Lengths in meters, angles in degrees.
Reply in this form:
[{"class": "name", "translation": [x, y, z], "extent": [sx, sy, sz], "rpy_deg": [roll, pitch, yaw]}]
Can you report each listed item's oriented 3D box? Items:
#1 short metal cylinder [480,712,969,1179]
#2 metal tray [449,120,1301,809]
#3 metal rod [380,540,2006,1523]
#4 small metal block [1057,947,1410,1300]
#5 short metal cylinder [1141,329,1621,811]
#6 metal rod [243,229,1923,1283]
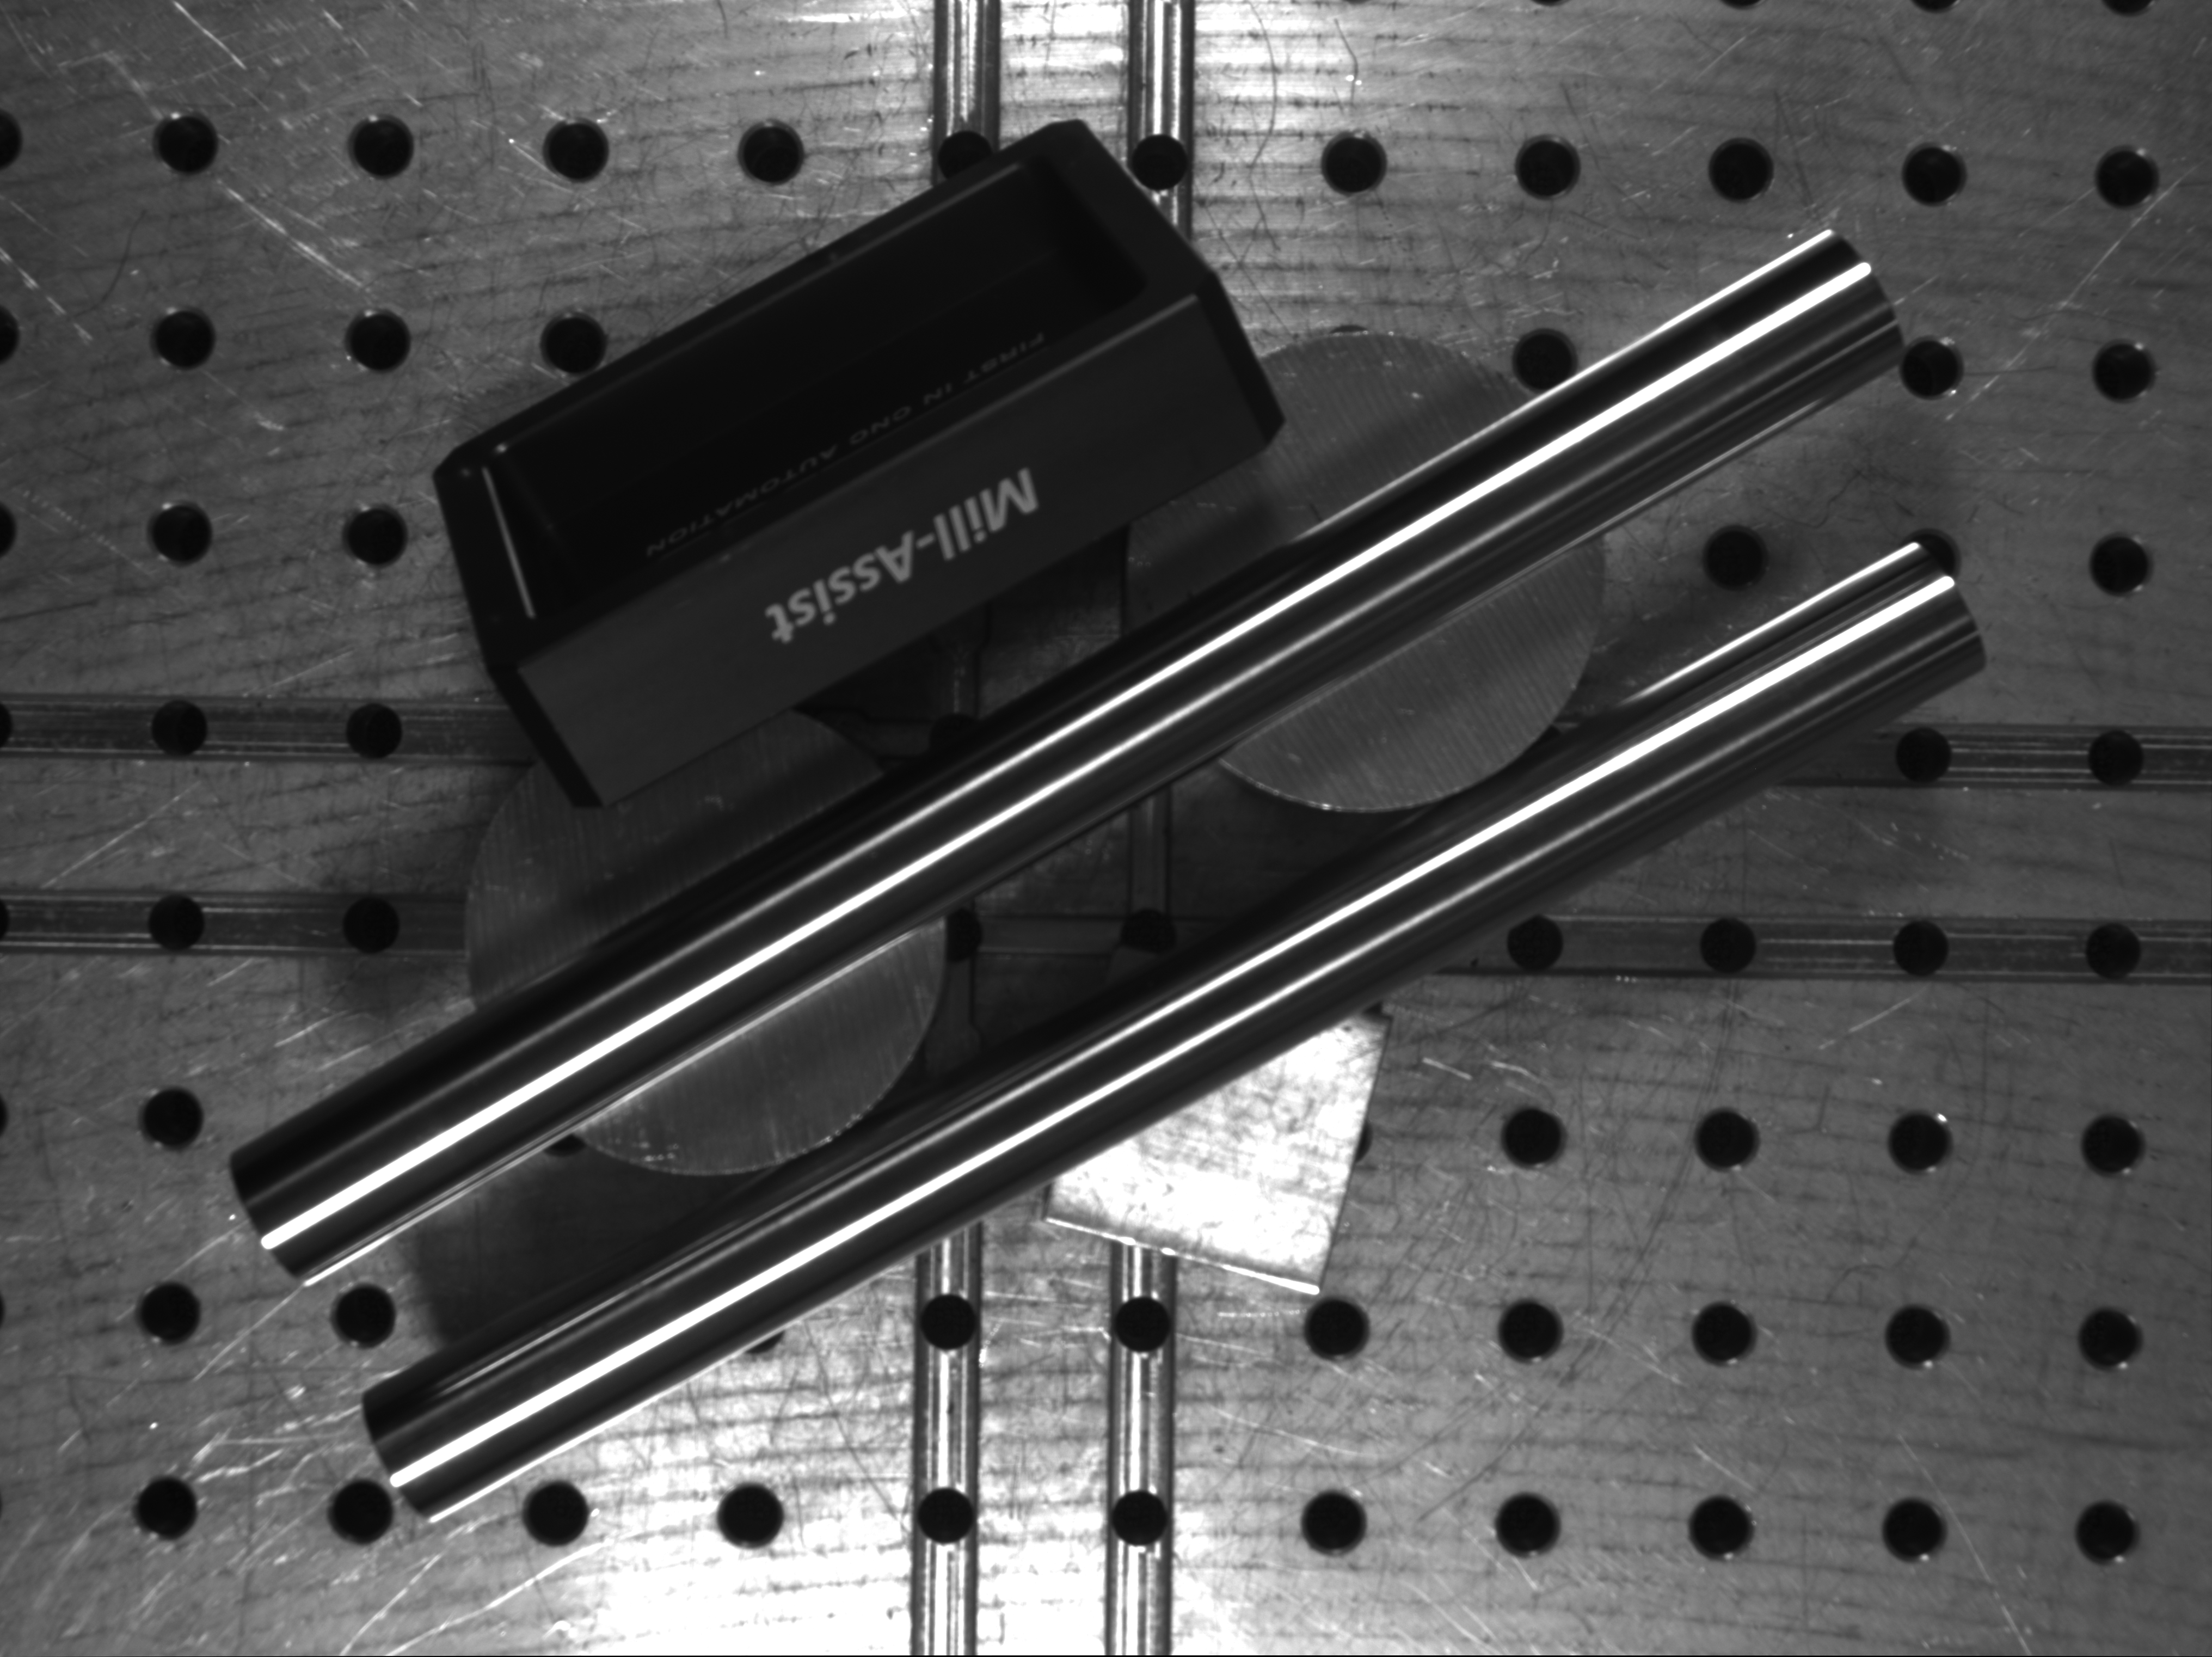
[{"class": "short metal cylinder", "translation": [-0.064, 0.018, 0.634], "extent": [0.080, 0.050, 0.080], "rpy_deg": [0, 90, 0]}, {"class": "metal tray", "translation": [-0.042, -0.063, 0.613], "extent": [0.130, 0.090, 0.030], "rpy_deg": [-29, 122, 0]}, {"class": "metal rod", "translation": [0.015, 0.034, 0.621], "extent": [0.300, 0.025, 0.025], "rpy_deg": [-29, 90, -1]}, {"class": "small metal block", "translation": [0.022, 0.051, 0.647], "extent": [0.050, 0.025, 0.050], "rpy_deg": [15, 90, 0]}, {"class": "short metal cylinder", "translation": [0.046, -0.043, 0.636], "extent": [0.080, 0.050, 0.080], "rpy_deg": [0, 90, 0]}, {"class": "metal rod", "translation": [-0.003, -0.012, 0.596], "extent": [0.300, 0.025, 0.025], "rpy_deg": [-30, 90, -1]}]
